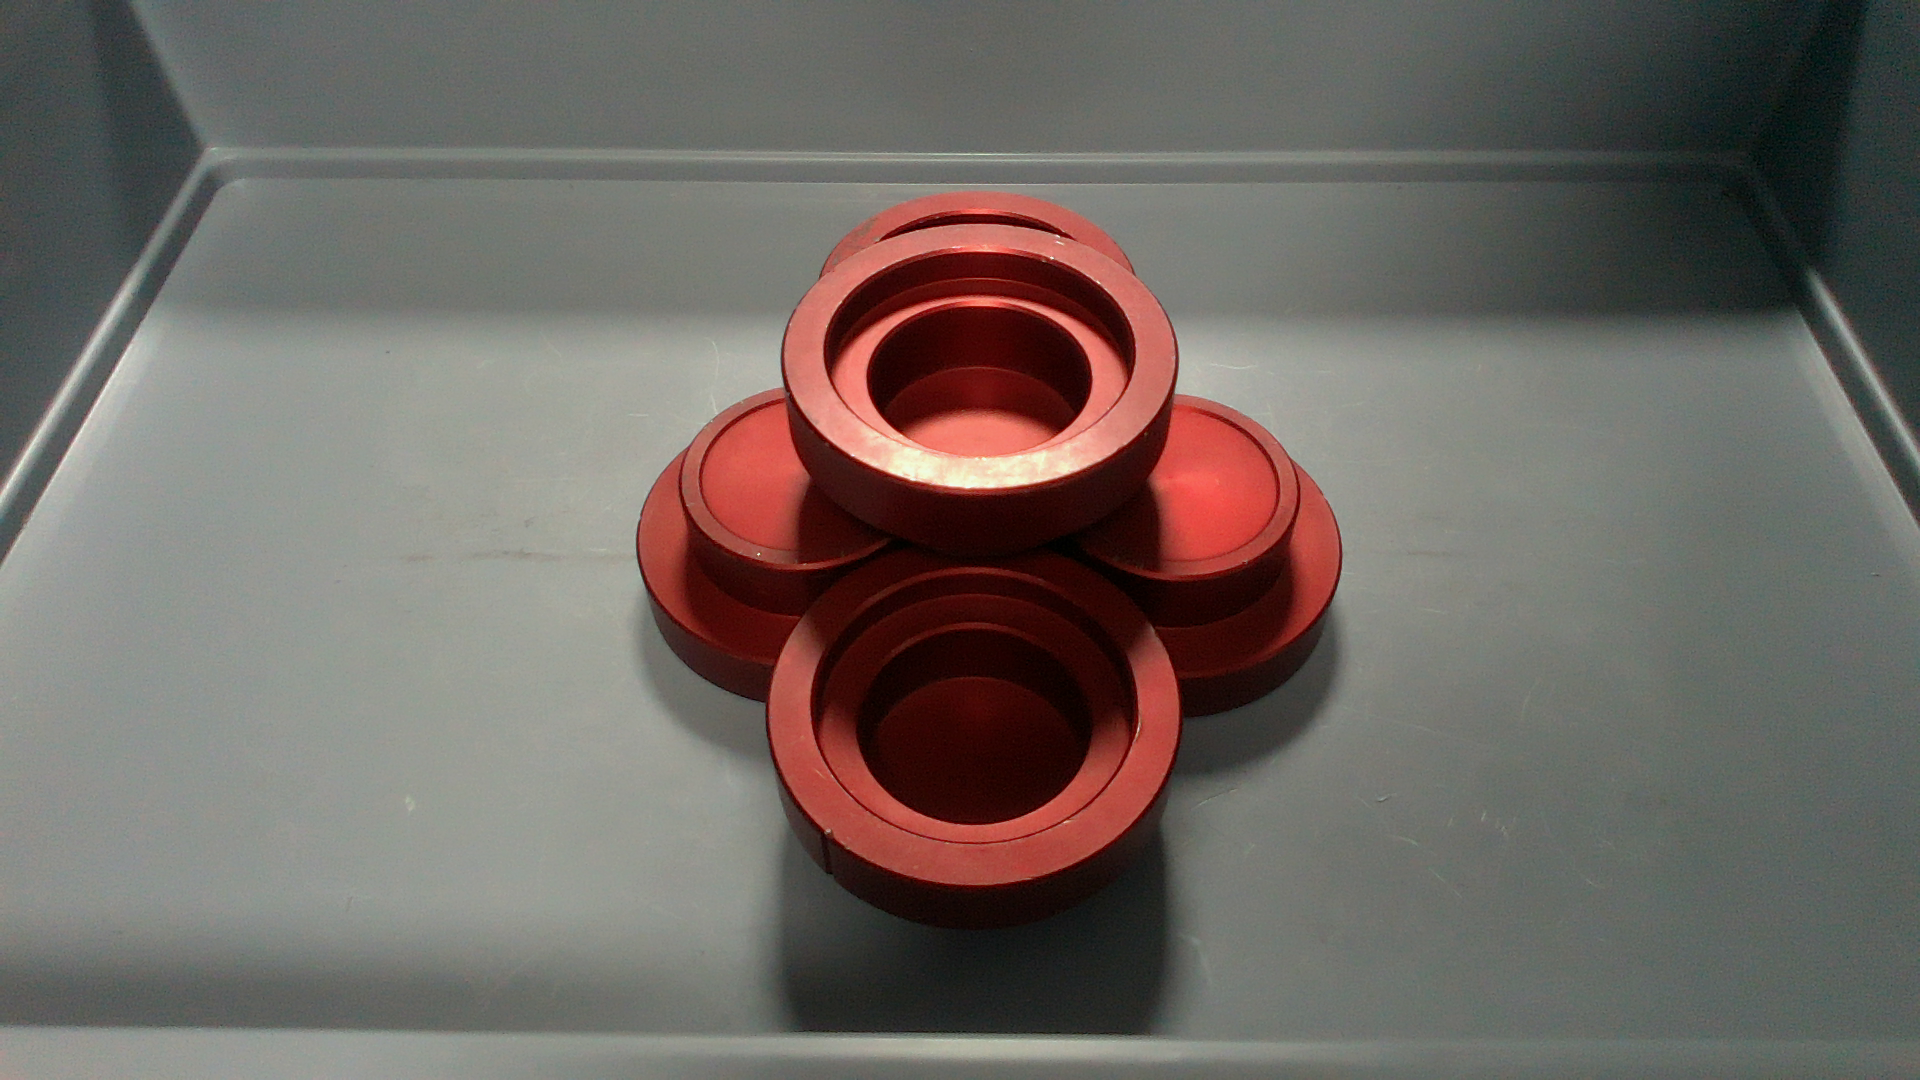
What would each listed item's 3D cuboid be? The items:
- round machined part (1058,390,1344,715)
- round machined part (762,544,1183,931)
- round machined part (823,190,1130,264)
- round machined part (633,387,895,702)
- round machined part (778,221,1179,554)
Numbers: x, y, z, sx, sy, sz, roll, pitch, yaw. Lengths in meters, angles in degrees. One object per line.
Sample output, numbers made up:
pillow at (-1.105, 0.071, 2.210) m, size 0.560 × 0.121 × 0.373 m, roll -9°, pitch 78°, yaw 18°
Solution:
round machined part at (0.057, -0.004, 0.381) m, size 0.098 × 0.042 × 0.098 m, roll 0°, pitch 50°, yaw 0°
round machined part at (0.003, 0.050, 0.337) m, size 0.098 × 0.042 × 0.098 m, roll 0°, pitch 50°, yaw 0°
round machined part at (0.005, -0.063, 0.431) m, size 0.098 × 0.042 × 0.098 m, roll 0°, pitch 50°, yaw 0°
round machined part at (-0.042, -0.006, 0.383) m, size 0.098 × 0.042 × 0.098 m, roll 0°, pitch 50°, yaw 0°
round machined part at (0.005, -0.035, 0.353) m, size 0.098 × 0.042 × 0.098 m, roll 0°, pitch 50°, yaw 0°
